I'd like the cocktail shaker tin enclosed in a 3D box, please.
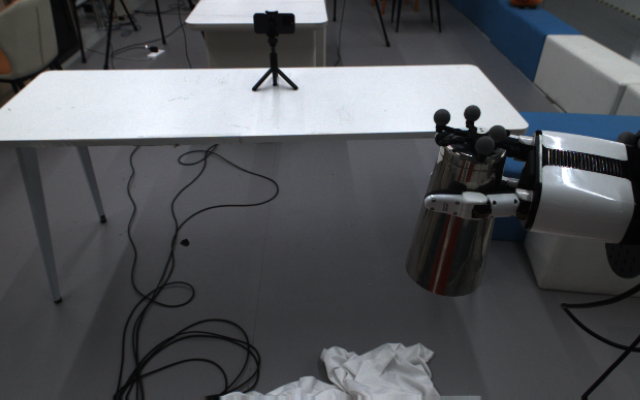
[{"bbox_3d":[0.159,0.010,0.549,0.093,0.170,0.093,2,33,-2],"label":"cocktail shaker tin"}]
